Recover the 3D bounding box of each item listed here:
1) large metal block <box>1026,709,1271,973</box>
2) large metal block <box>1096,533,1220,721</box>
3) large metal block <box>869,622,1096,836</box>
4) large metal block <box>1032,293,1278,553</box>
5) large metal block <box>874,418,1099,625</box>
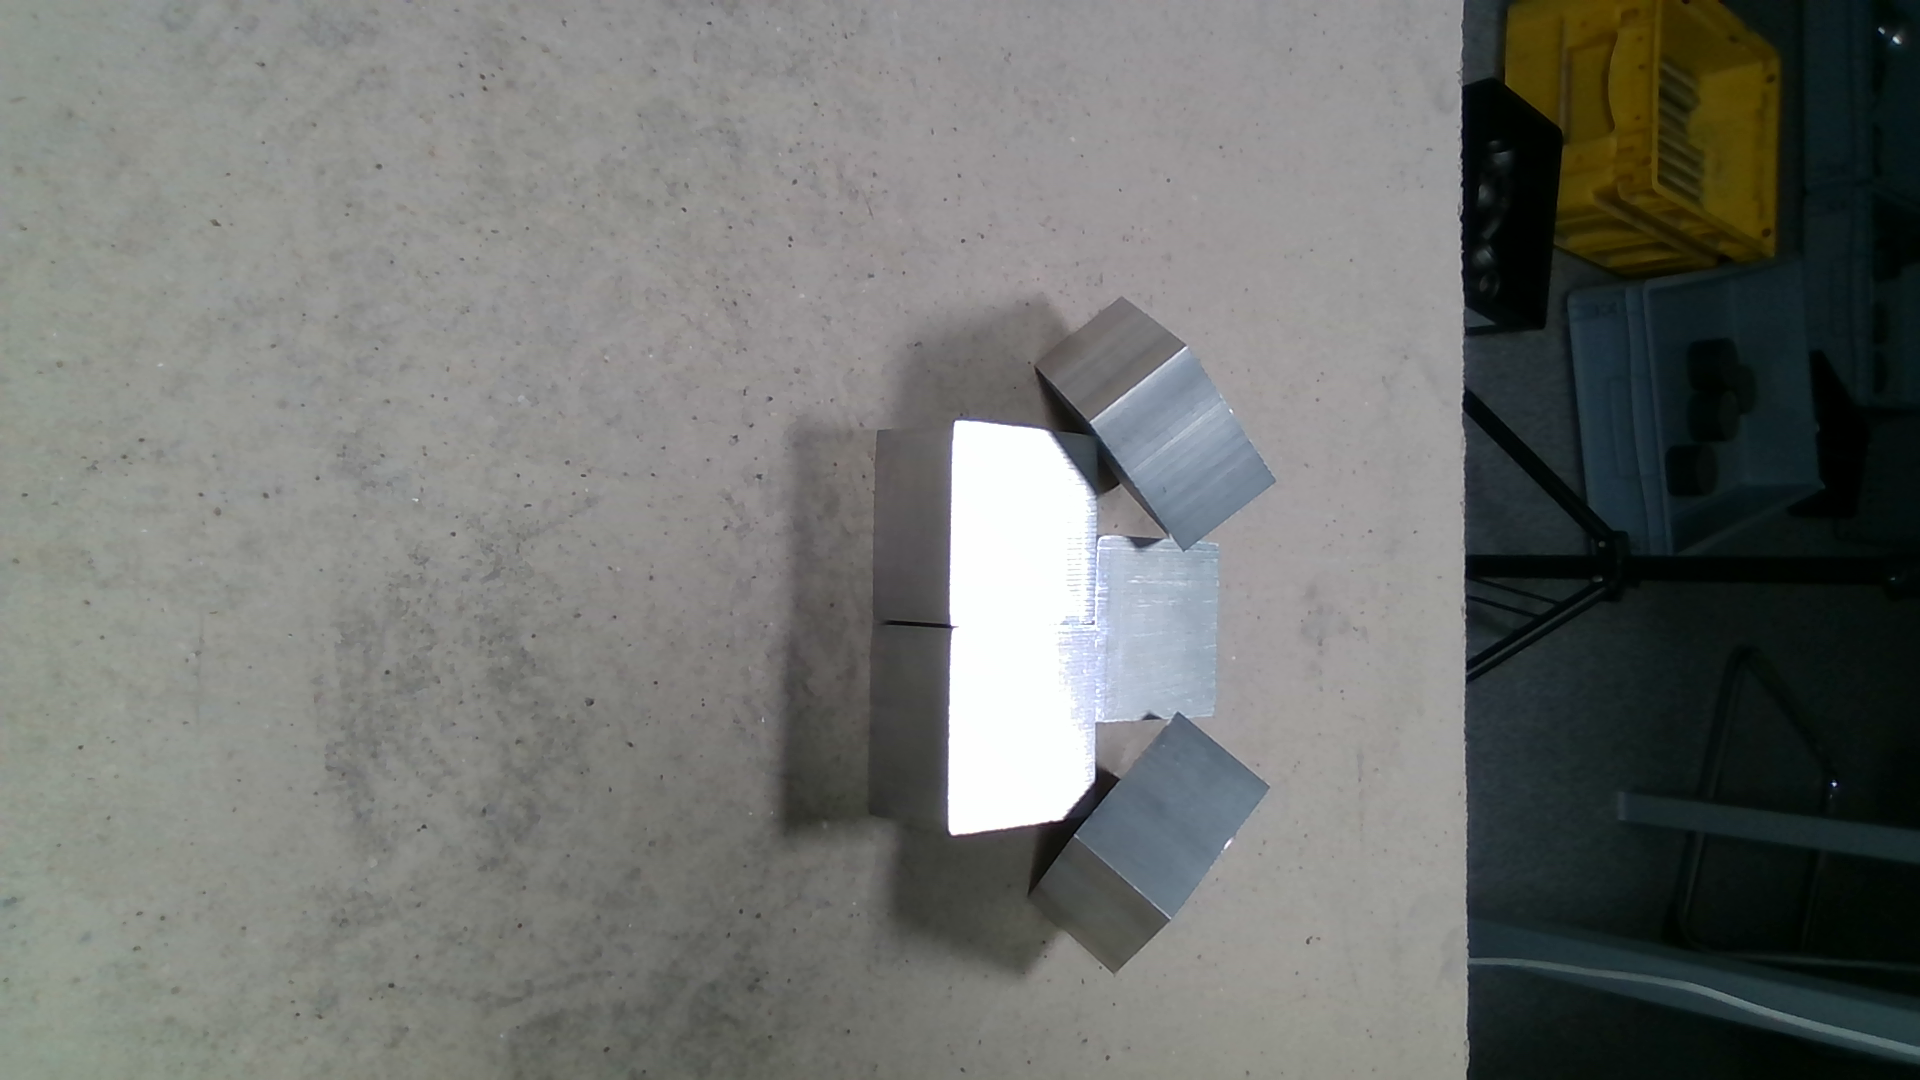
[{"bbox_3d":[0.082,0.134,0.609,0.050,0.080,0.080,39,57,12],"label":"large metal block"},{"bbox_3d":[0.072,0.039,0.628,0.080,0.050,0.080,3,88,-40],"label":"large metal block"},{"bbox_3d":[0.010,0.075,0.573,0.080,0.050,0.080,2,89,-40],"label":"large metal block"},{"bbox_3d":[0.085,-0.053,0.610,0.050,0.080,0.080,-38,118,4],"label":"large metal block"},{"bbox_3d":[0.012,-0.006,0.576,0.080,0.050,0.080,2,89,-40],"label":"large metal block"}]
